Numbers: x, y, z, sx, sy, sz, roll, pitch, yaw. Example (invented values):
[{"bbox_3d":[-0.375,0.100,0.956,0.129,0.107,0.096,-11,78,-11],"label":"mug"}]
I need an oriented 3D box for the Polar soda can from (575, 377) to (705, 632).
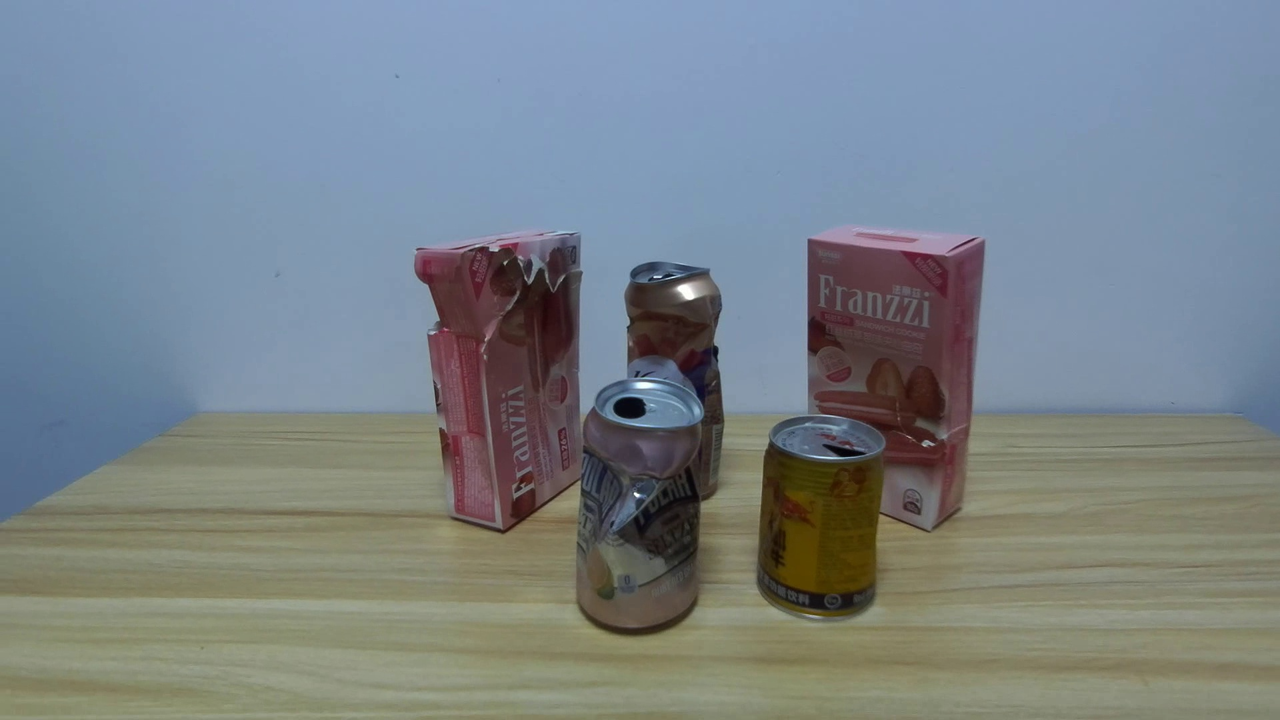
[{"bbox_3d":[0.002,0.077,0.367,0.067,0.121,0.071,1,16,-9],"label":"Polar soda can"}]

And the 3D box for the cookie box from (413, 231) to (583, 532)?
[{"bbox_3d":[-0.083,0.011,0.475,0.059,0.186,0.105,9,21,31],"label":"cookie box"}]

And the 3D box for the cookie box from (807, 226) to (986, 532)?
[{"bbox_3d":[0.165,0.013,0.461,0.049,0.187,0.104,-22,27,-37],"label":"cookie box"}]

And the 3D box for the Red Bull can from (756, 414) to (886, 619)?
[{"bbox_3d":[0.098,0.083,0.383,0.069,0.092,0.069,-1,18,1],"label":"Red Bull can"}]

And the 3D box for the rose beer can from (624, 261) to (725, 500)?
[{"bbox_3d":[0.023,0.017,0.493,0.073,0.162,0.068,1,13,12],"label":"rose beer can"}]
